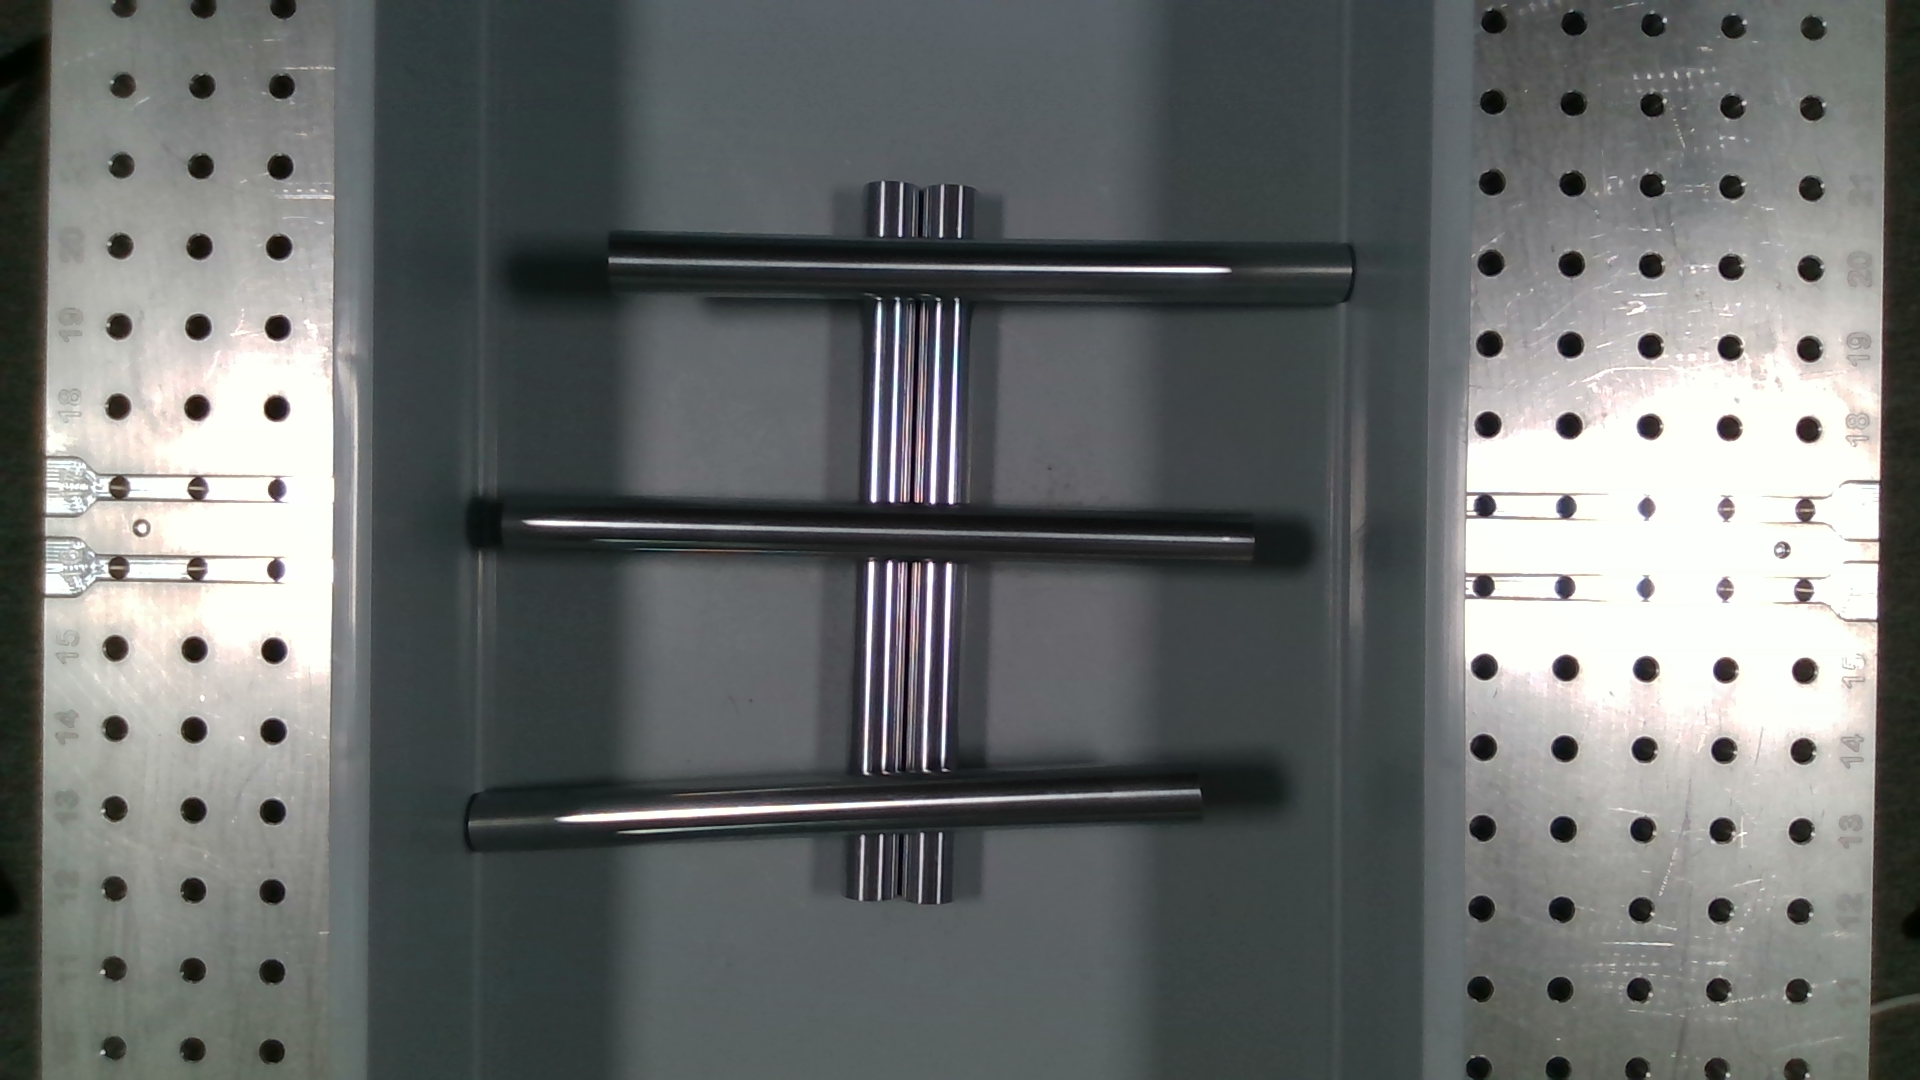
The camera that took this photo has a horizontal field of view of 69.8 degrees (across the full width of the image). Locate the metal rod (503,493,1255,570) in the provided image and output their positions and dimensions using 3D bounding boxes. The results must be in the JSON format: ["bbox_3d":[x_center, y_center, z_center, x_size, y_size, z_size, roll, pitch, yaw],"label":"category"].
[{"bbox_3d":[-0.032,-0.003,0.561,0.300,0.025,0.025,1,90,0],"label":"metal rod"}]

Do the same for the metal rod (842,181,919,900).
[{"bbox_3d":[-0.034,0.000,0.586,0.025,0.025,0.300,2,91,0],"label":"metal rod"}]

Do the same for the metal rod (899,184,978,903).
[{"bbox_3d":[-0.009,0.002,0.586,0.025,0.025,0.300,2,91,0],"label":"metal rod"}]

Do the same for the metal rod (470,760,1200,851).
[{"bbox_3d":[-0.054,0.110,0.565,0.300,0.025,0.025,-4,90,8],"label":"metal rod"}]

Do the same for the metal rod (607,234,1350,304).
[{"bbox_3d":[0.011,-0.110,0.561,0.300,0.025,0.025,-1,90,-8],"label":"metal rod"}]
